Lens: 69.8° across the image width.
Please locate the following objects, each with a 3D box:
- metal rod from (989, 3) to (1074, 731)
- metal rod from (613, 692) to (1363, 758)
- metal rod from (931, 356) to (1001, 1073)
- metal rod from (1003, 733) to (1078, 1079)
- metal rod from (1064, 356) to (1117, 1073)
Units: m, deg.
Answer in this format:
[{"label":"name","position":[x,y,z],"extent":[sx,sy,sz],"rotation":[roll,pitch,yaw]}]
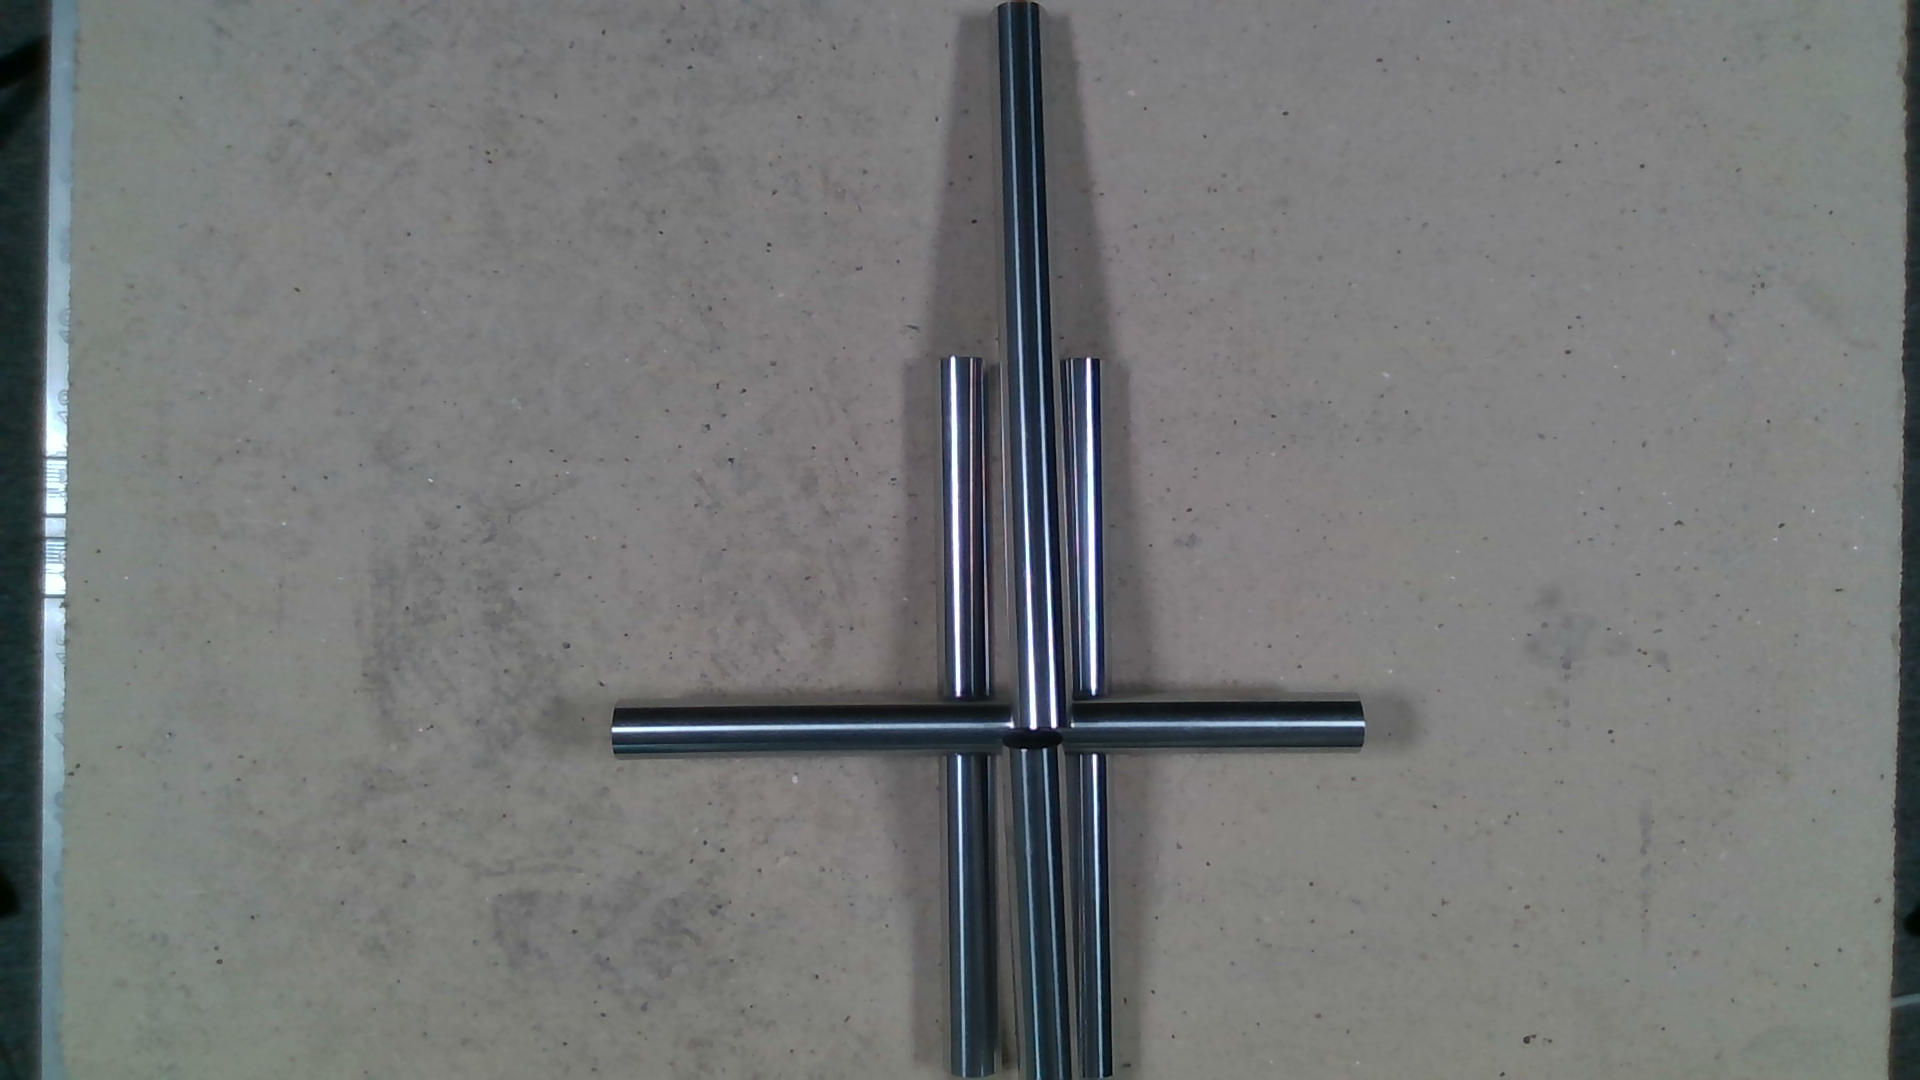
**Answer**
[{"label":"metal rod","position":[0.028,-0.074,0.561],"extent":[0.025,0.025,0.300],"rotation":[-1,81,0]},{"label":"metal rod","position":[0.011,0.076,0.563],"extent":[0.300,0.025,0.025],"rotation":[-1,90,0]},{"label":"metal rod","position":[0.002,0.073,0.587],"extent":[0.025,0.025,0.300],"rotation":[-1,91,0]},{"label":"metal rod","position":[0.037,0.225,0.564],"extent":[0.025,0.025,0.300],"rotation":[-3,101,0]},{"label":"metal rod","position":[0.053,0.073,0.587],"extent":[0.025,0.025,0.300],"rotation":[-1,91,0]}]
